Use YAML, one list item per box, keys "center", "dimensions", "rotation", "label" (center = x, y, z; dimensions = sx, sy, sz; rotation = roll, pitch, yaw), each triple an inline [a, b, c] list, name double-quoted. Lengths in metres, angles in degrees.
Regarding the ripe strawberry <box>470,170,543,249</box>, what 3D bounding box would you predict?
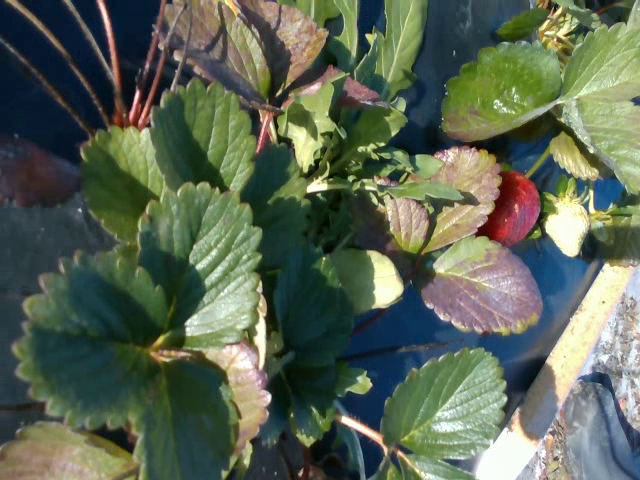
- center: [0.075, -0.013, 0.261]
  dimensions: [0.036, 0.044, 0.053]
  rotation: [31, 21, 15]
  label: "ripe strawberry"
